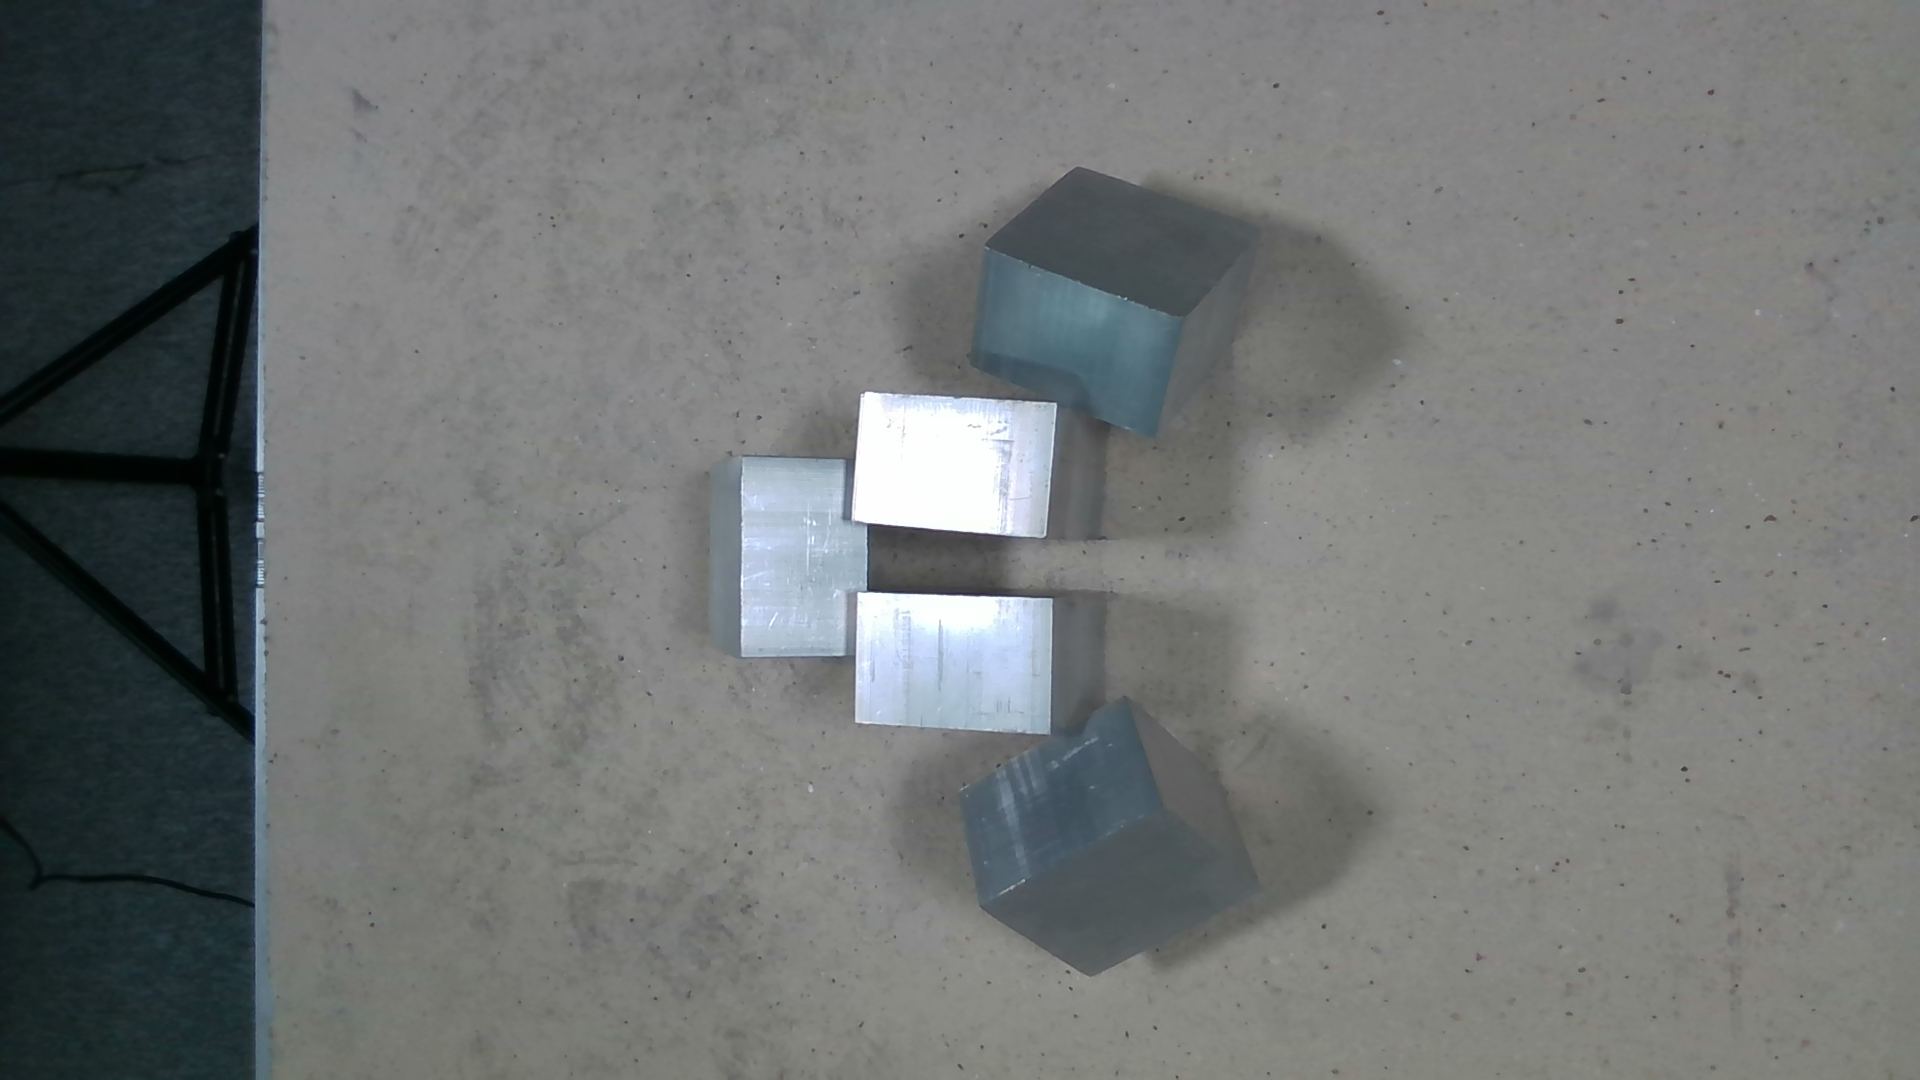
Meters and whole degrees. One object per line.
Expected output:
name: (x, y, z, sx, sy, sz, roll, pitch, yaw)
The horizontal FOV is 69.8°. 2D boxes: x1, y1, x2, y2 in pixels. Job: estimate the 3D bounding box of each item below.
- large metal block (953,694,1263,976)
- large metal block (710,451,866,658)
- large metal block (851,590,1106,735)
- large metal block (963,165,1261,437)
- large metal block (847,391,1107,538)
large metal block: (0.057, 0.116, 0.530, 0.080, 0.080, 0.050, -33, 42, 17)
large metal block: (-0.074, 0.006, 0.577, 0.050, 0.080, 0.080, 1, 91, -19)
large metal block: (0.010, 0.046, 0.554, 0.080, 0.080, 0.050, 1, 91, 20)
large metal block: (0.058, -0.093, 0.525, 0.080, 0.080, 0.050, 24, 134, 18)
large metal block: (0.010, -0.029, 0.553, 0.080, 0.080, 0.050, 5, 92, 20)
